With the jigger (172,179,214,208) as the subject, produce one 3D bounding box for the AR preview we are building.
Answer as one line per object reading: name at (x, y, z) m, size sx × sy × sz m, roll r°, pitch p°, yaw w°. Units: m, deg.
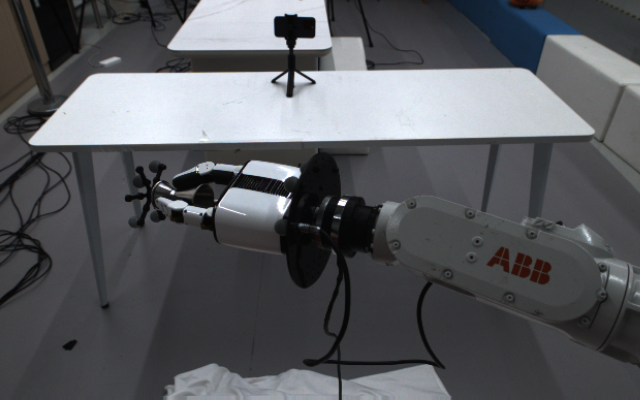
jigger at (-0.172, -0.005, 0.625) m, size 0.071 × 0.043 × 0.043 m, roll 6°, pitch 34°, yaw 22°
